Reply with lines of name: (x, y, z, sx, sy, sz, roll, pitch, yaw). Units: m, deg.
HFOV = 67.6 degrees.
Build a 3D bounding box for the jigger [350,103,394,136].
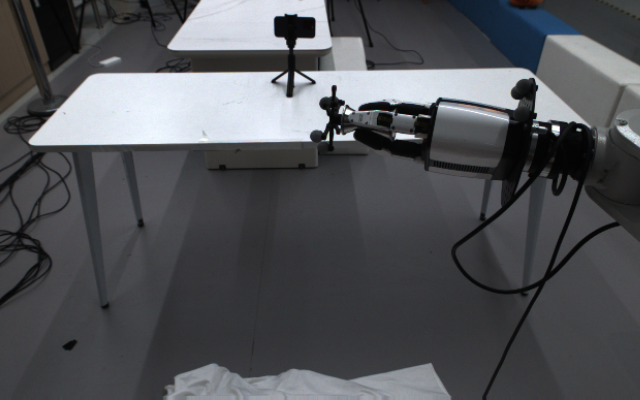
jigger: (0.071, -0.107, 0.635, 0.071, 0.043, 0.043, 8, 35, 16)
